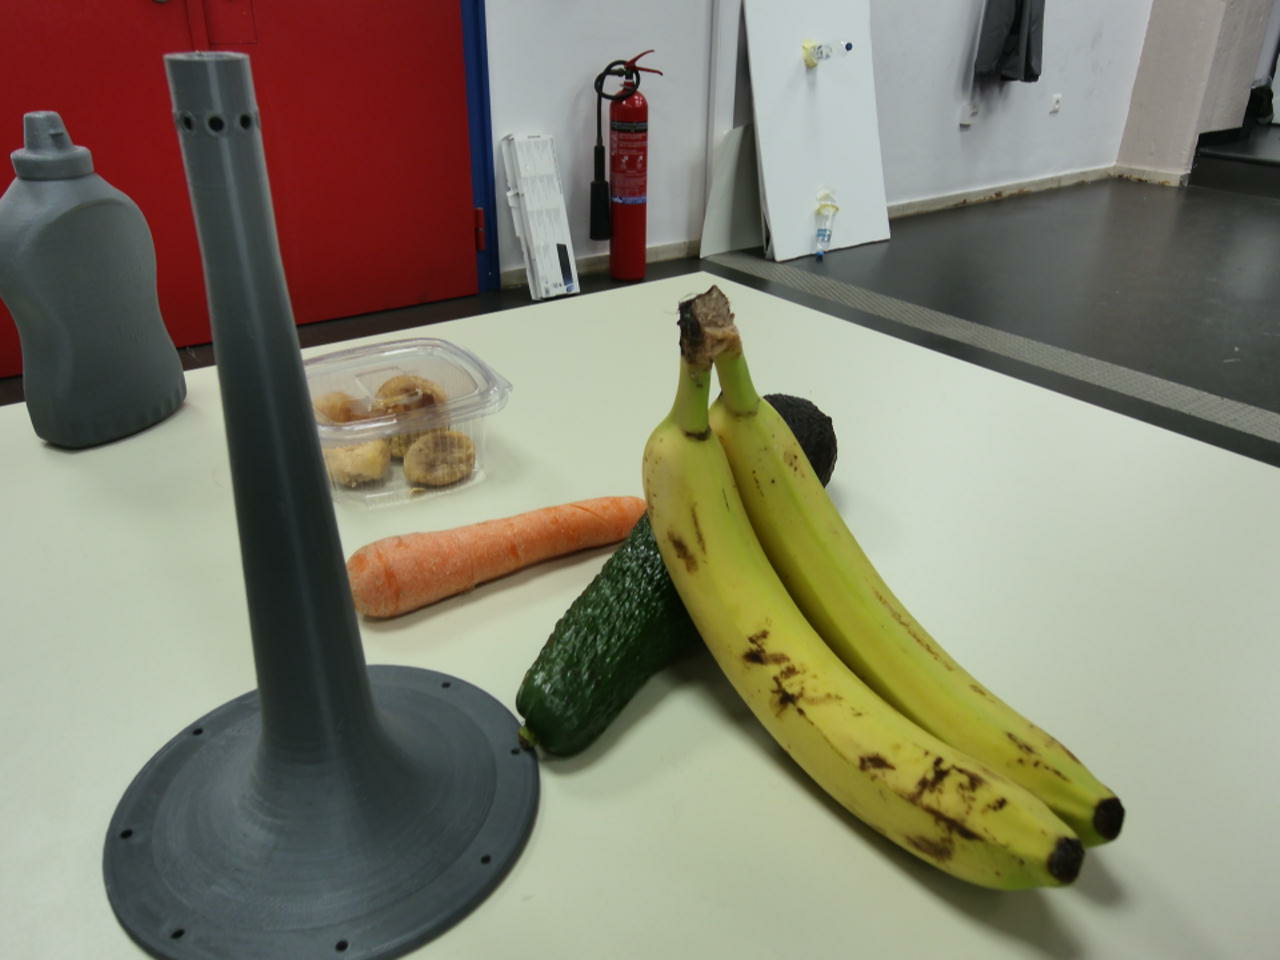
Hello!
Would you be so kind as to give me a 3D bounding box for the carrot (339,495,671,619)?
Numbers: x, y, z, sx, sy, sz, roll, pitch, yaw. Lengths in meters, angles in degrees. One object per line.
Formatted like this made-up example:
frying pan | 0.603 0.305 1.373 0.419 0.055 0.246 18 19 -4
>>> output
carrot | -0.063 0.029 0.531 0.196 0.041 0.039 -18 31 -33
